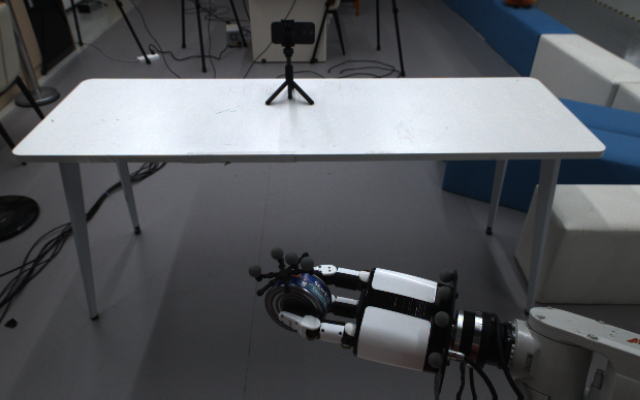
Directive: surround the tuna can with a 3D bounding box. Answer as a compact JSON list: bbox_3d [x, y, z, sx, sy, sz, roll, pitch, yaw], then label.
[{"bbox_3d":[-0.026,0.142,0.642,0.085,0.085,0.034,11,34,13],"label":"tuna can"}]
